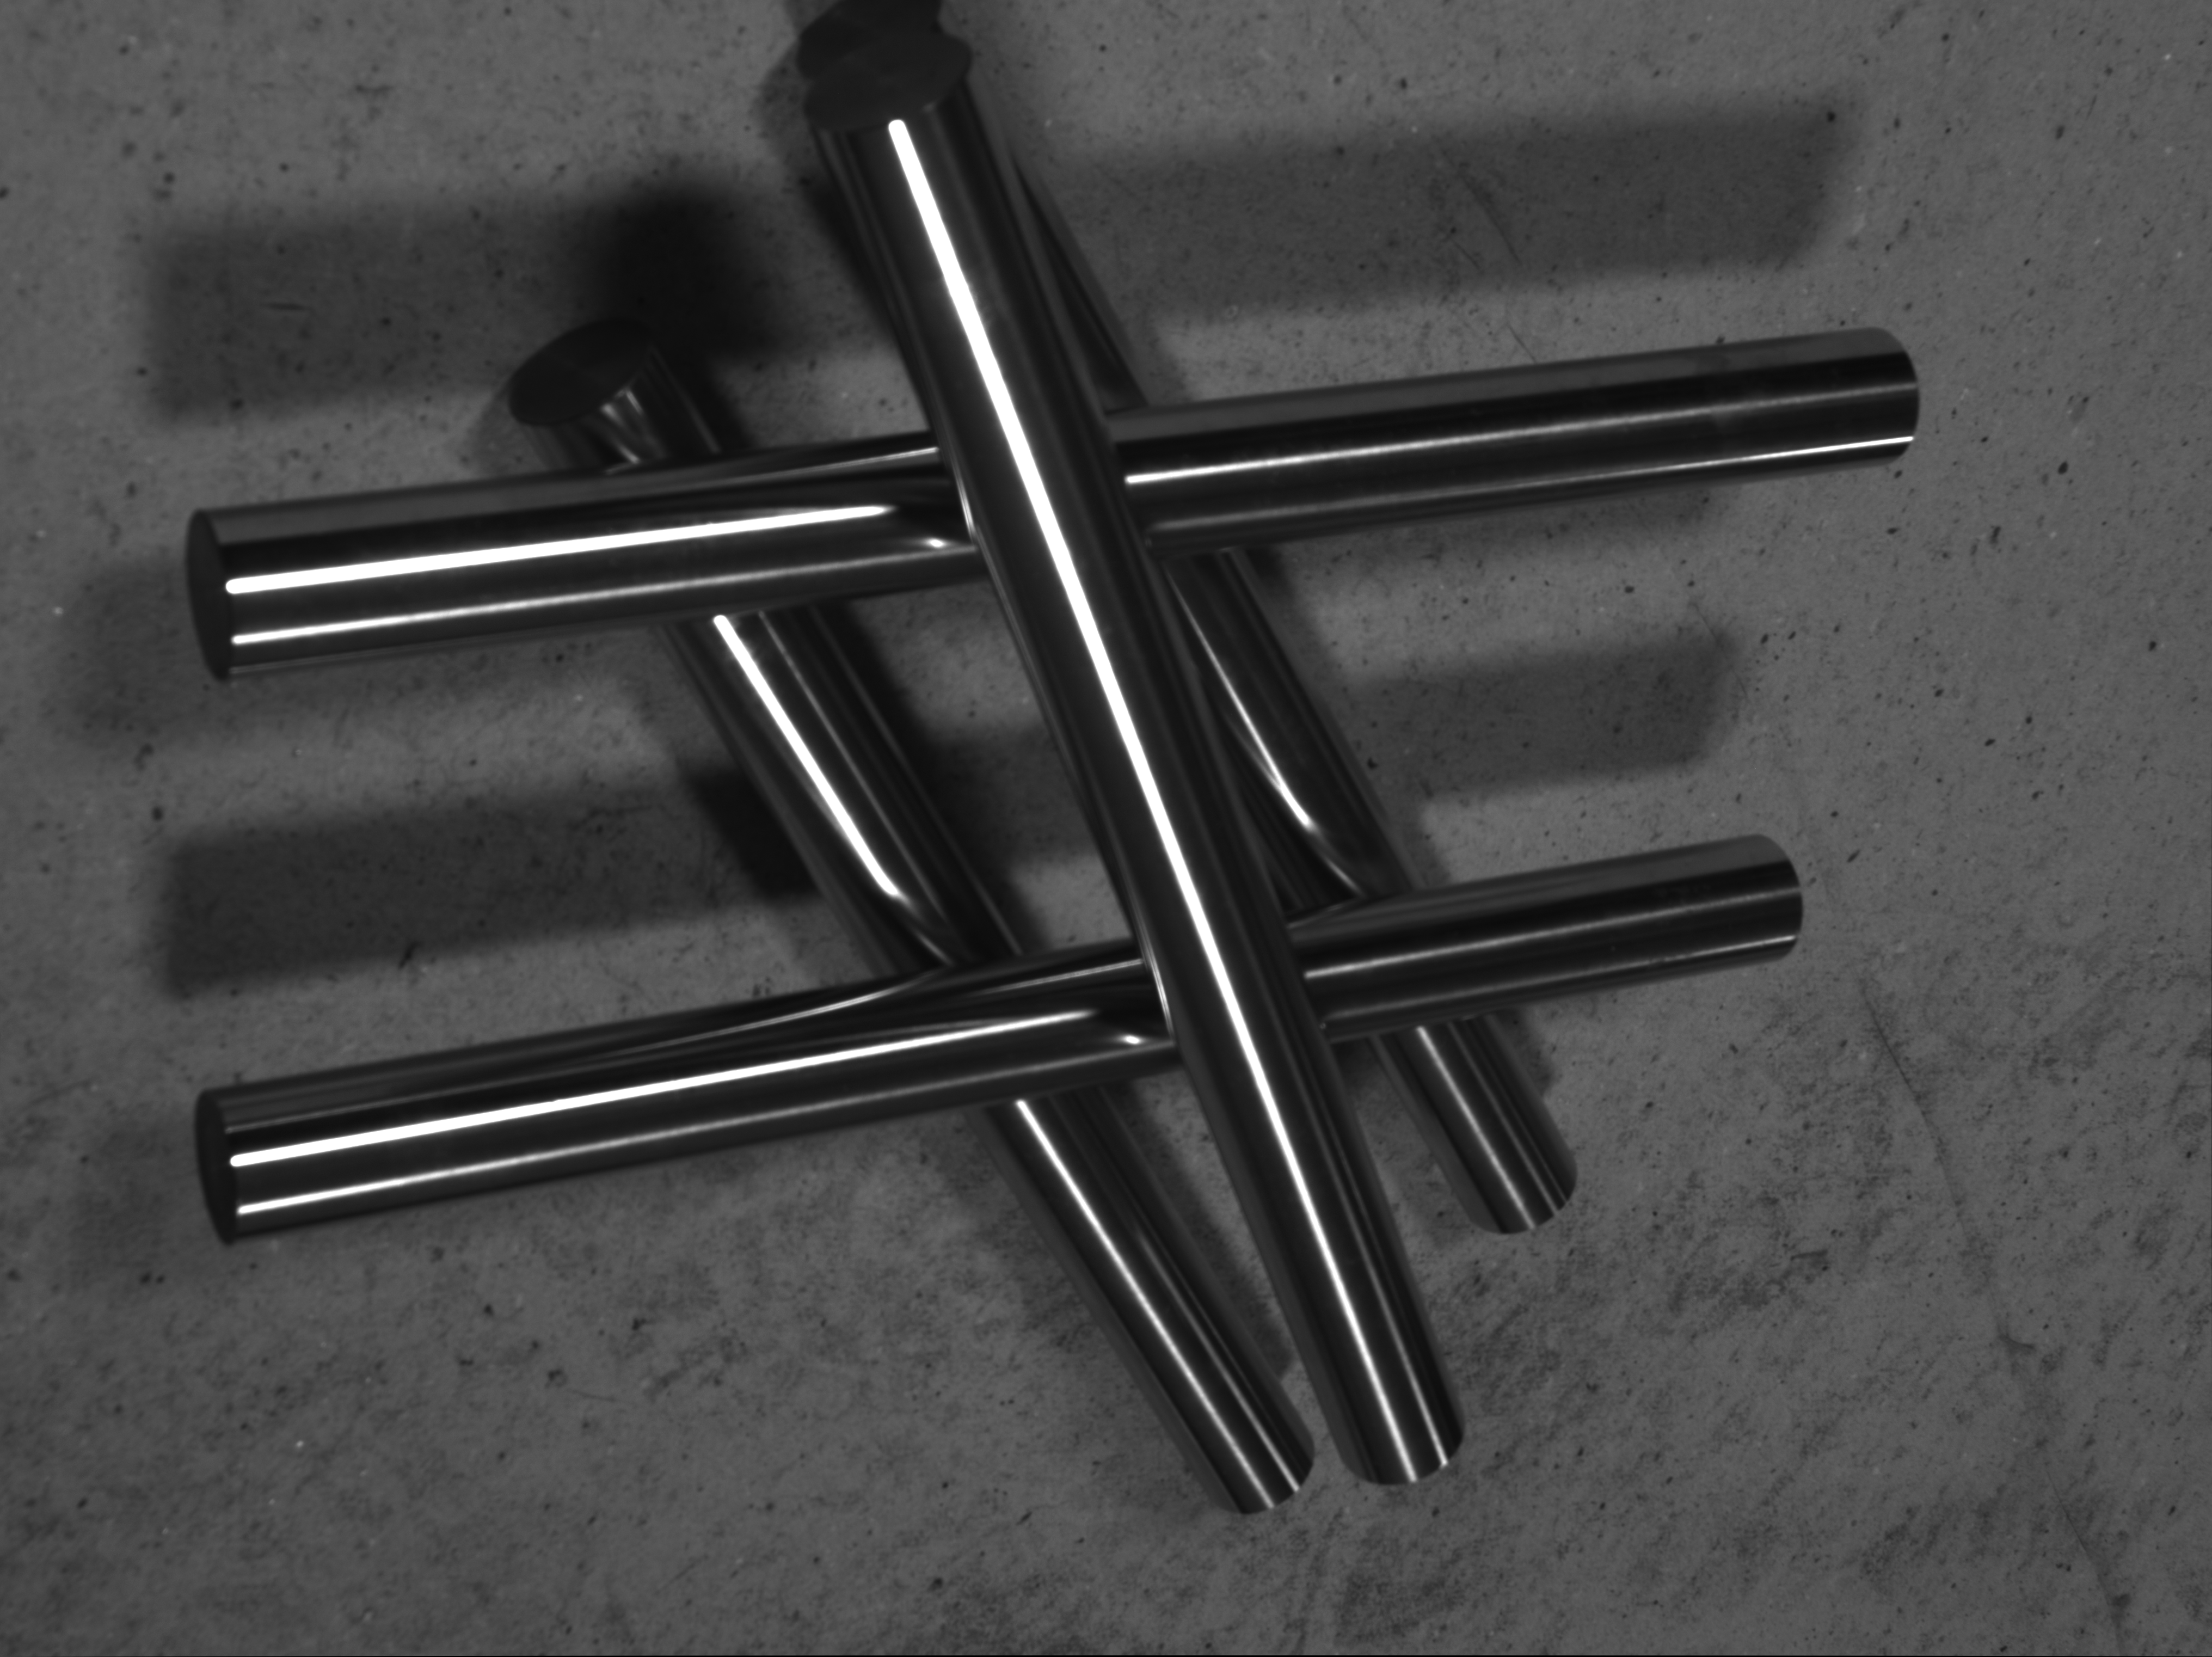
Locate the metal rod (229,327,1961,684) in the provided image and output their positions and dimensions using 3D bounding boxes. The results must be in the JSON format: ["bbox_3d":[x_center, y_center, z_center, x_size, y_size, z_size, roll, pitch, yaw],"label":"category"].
[{"bbox_3d":[0.011,-0.055,0.591,0.301,0.025,0.025,-9,123,-25],"label":"metal rod"}]

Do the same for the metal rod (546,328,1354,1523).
[{"bbox_3d":[-0.018,0.032,0.660,0.025,0.025,0.301,-35,130,-7],"label":"metal rod"}]

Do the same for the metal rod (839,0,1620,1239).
[{"bbox_3d":[0.032,-0.024,0.655,0.025,0.025,0.301,-37,130,-5],"label":"metal rod"}]

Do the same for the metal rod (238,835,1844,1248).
[{"bbox_3d":[0.001,0.034,0.640,0.301,0.025,0.025,-8,122,-26],"label":"metal rod"}]

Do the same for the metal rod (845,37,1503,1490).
[{"bbox_3d":[0.019,0.006,0.601,0.025,0.025,0.300,-30,129,-11],"label":"metal rod"}]
